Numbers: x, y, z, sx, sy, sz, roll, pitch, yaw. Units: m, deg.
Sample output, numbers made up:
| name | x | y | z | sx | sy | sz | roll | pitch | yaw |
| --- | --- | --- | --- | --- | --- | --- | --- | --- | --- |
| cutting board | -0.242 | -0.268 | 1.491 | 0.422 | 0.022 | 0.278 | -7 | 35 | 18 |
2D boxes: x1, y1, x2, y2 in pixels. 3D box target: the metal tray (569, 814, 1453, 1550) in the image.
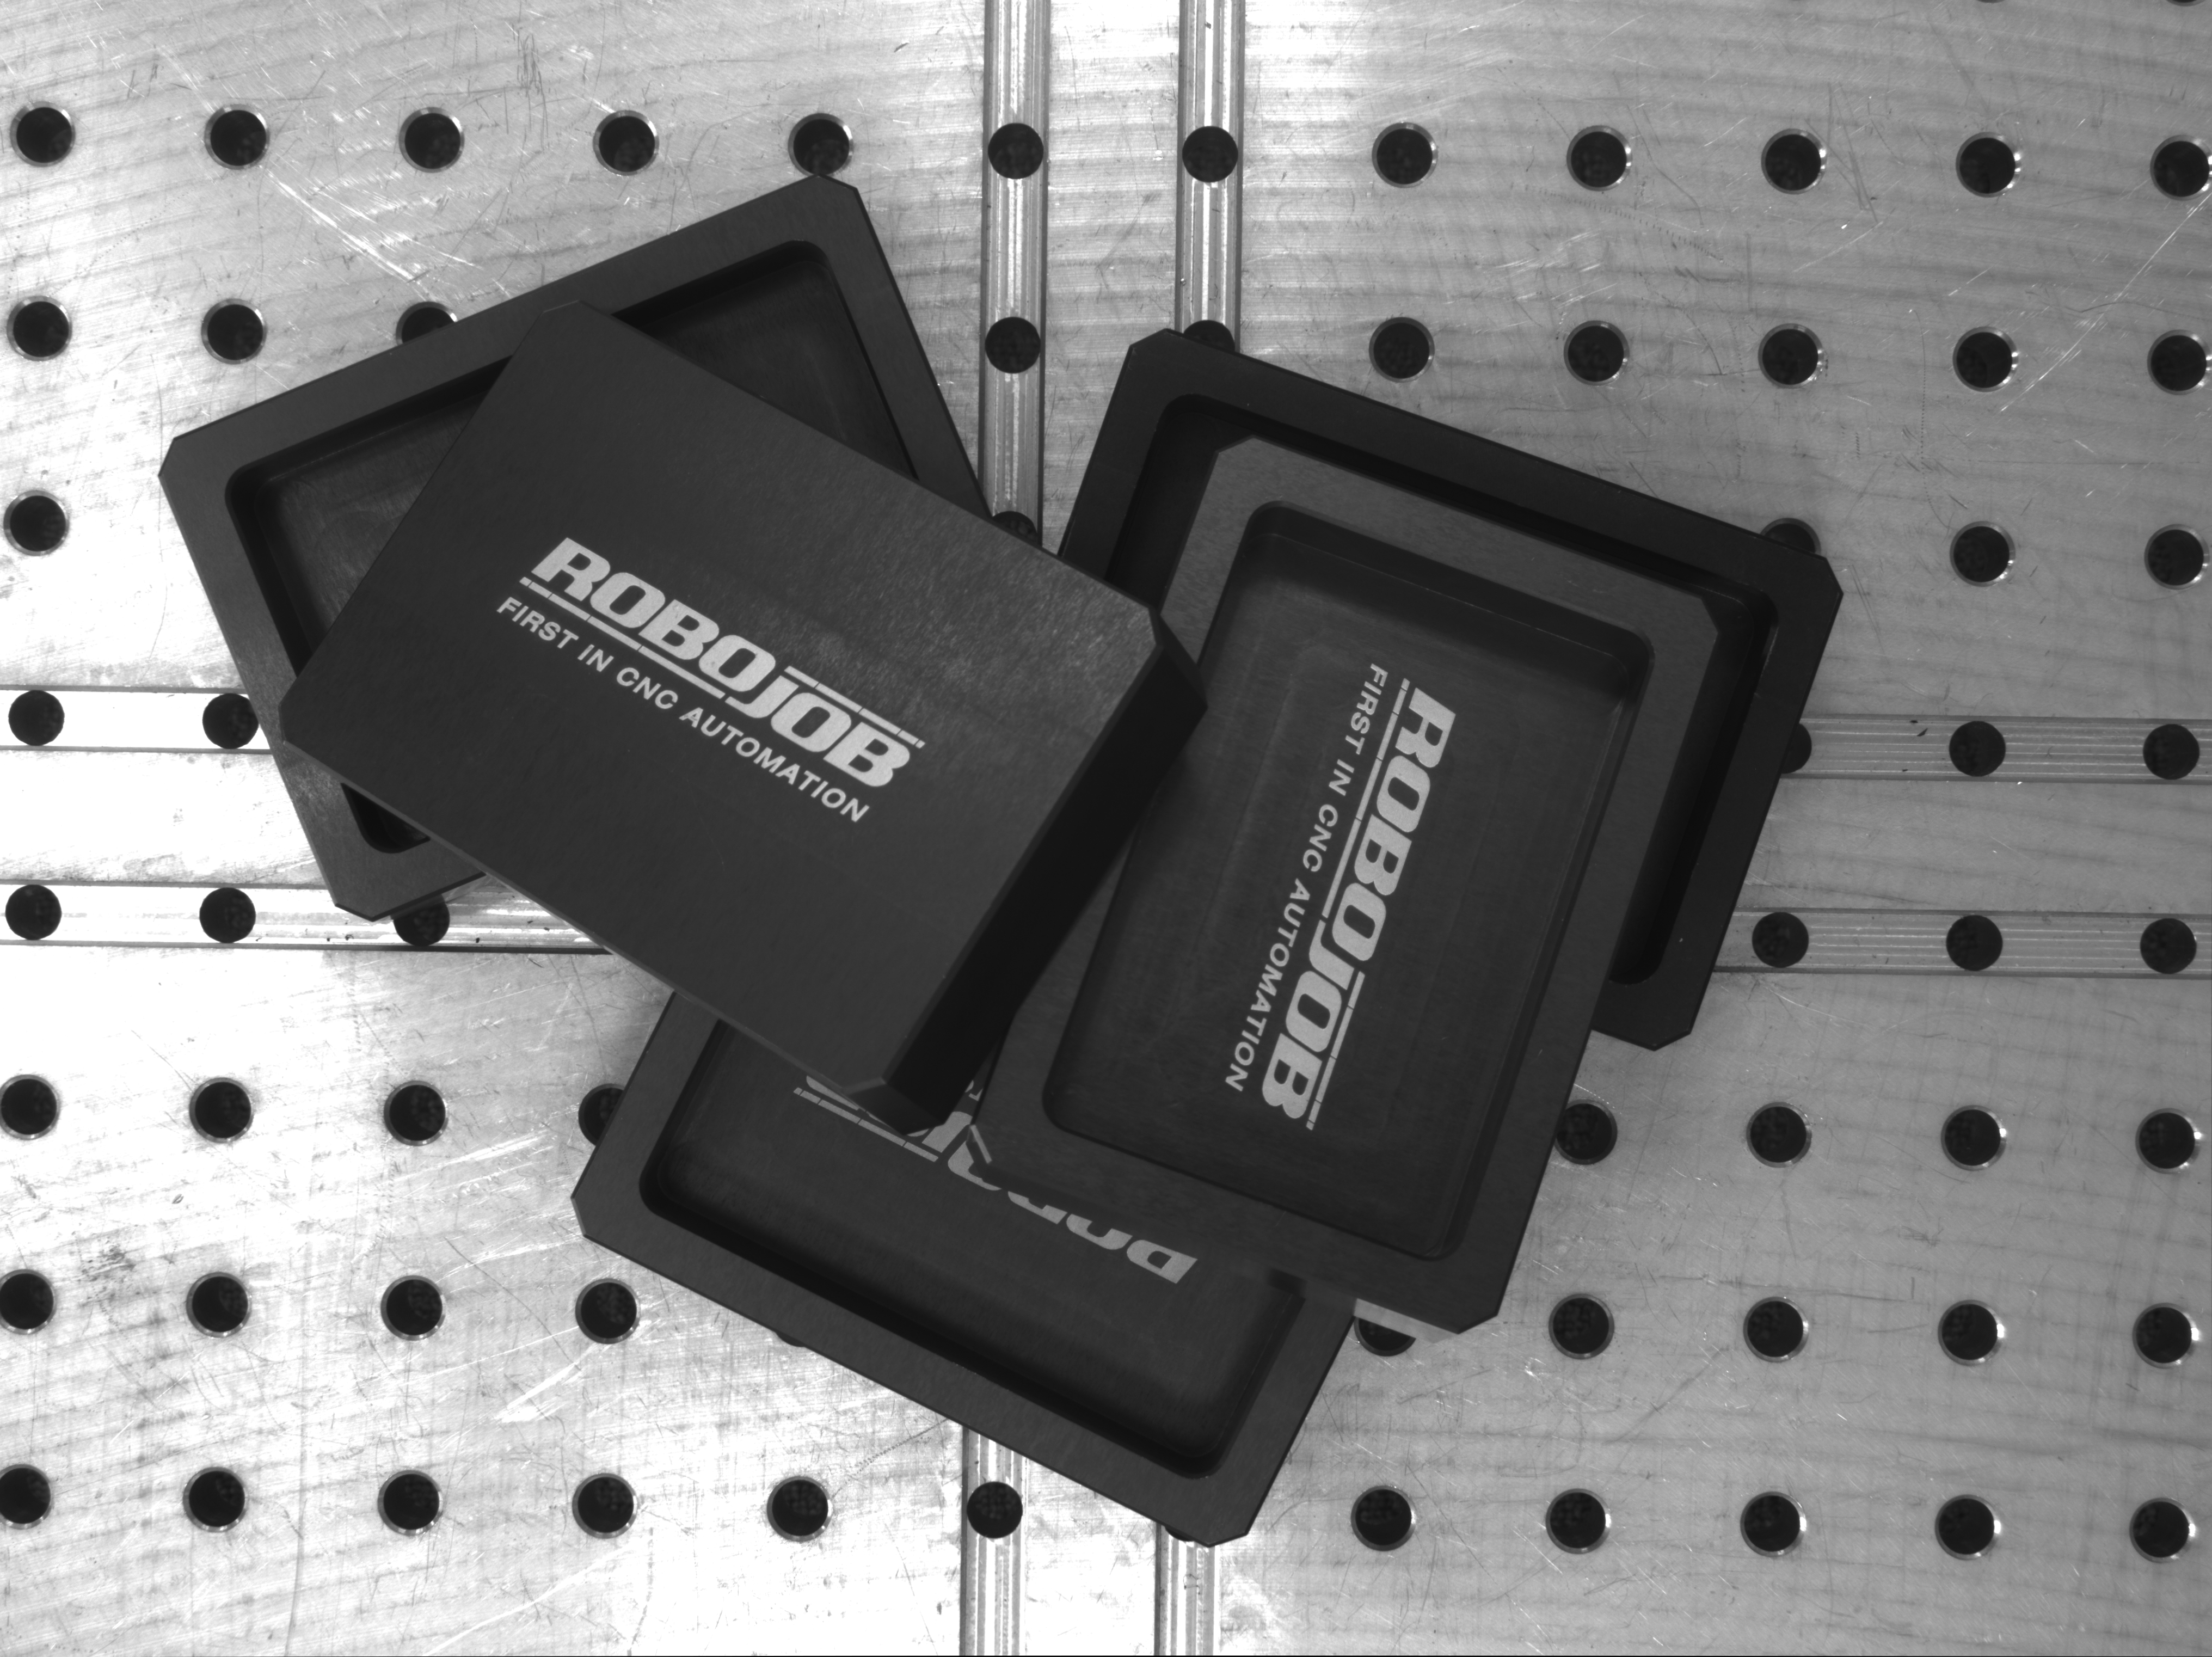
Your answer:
| name | x | y | z | sx | sy | sz | roll | pitch | yaw |
| --- | --- | --- | --- | --- | --- | --- | --- | --- | --- |
| metal tray | -0.016 | 0.057 | 0.646 | 0.130 | 0.030 | 0.090 | 26 | 90 | 0 |

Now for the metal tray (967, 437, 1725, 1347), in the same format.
| name | x | y | z | sx | sy | sz | roll | pitch | yaw |
| --- | --- | --- | --- | --- | --- | --- | --- | --- | --- |
| metal tray | 0.040 | 0.011 | 0.615 | 0.090 | 0.030 | 0.130 | 20 | 78 | 0 |

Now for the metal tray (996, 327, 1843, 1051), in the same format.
| name | x | y | z | sx | sy | sz | roll | pitch | yaw |
| --- | --- | --- | --- | --- | --- | --- | --- | --- | --- |
| metal tray | 0.052 | -0.024 | 0.645 | 0.130 | 0.030 | 0.090 | 19 | 90 | 1 |

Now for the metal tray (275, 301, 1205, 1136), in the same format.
| name | x | y | z | sx | sy | sz | roll | pitch | yaw |
| --- | --- | --- | --- | --- | --- | --- | --- | --- | --- |
| metal tray | -0.061 | -0.020 | 0.605 | 0.130 | 0.030 | 0.090 | 29 | 82 | 22 |

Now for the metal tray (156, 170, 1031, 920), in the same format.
| name | x | y | z | sx | sy | sz | roll | pitch | yaw |
| --- | --- | --- | --- | --- | --- | --- | --- | --- | --- |
| metal tray | -0.088 | -0.049 | 0.645 | 0.130 | 0.030 | 0.090 | -22 | 90 | 0 |
